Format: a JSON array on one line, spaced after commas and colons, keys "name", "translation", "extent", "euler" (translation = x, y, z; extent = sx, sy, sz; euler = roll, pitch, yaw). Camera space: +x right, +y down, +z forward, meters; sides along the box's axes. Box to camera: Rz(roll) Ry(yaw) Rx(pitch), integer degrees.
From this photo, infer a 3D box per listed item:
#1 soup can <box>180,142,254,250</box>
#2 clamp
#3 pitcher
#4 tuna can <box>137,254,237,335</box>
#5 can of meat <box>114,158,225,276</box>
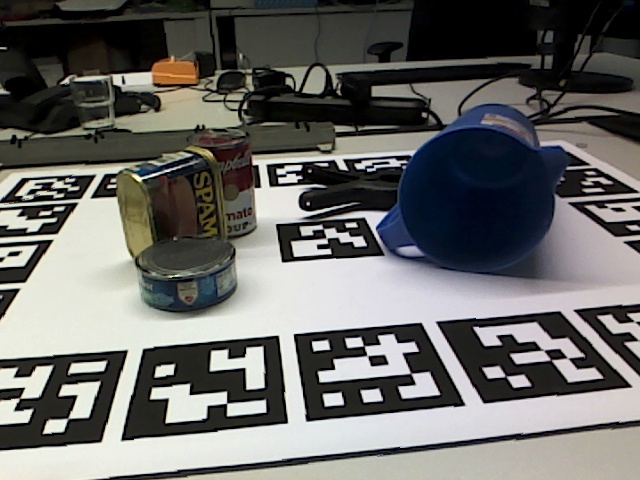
[{"name": "soup can", "translation": [-0.110, -0.048, 0.676], "extent": [0.068, 0.102, 0.068], "euler": [-3, 28, 1]}, {"name": "clamp", "translation": [0.037, -0.048, 0.762], "extent": [0.165, 0.036, 0.122], "euler": [-1, 21, -6]}, {"name": "pitcher", "translation": [0.163, -0.064, 0.649], "extent": [0.189, 0.133, 0.242], "euler": [-16, 13, 21]}, {"name": "tuna can", "translation": [-0.117, 0.047, 0.552], "extent": [0.086, 0.033, 0.086], "euler": [-1, 27, 0]}, {"name": "can of meat", "translation": [-0.147, -0.019, 0.607], "extent": [0.083, 0.101, 0.058], "euler": [-27, 37, -36]}]
